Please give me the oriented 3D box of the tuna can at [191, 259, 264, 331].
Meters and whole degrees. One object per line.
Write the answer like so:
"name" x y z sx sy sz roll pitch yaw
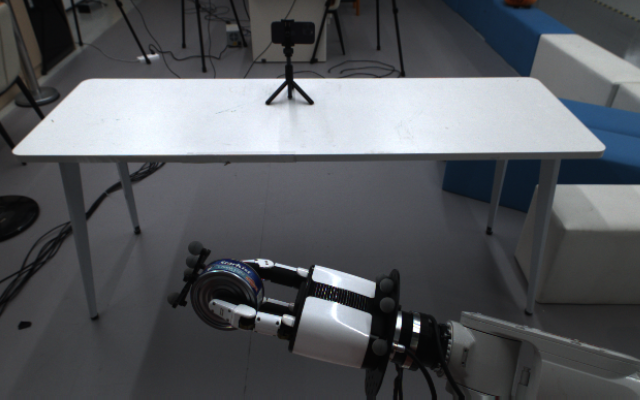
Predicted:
"tuna can" -0.110 0.122 0.594 0.085 0.085 0.034 6 20 5
